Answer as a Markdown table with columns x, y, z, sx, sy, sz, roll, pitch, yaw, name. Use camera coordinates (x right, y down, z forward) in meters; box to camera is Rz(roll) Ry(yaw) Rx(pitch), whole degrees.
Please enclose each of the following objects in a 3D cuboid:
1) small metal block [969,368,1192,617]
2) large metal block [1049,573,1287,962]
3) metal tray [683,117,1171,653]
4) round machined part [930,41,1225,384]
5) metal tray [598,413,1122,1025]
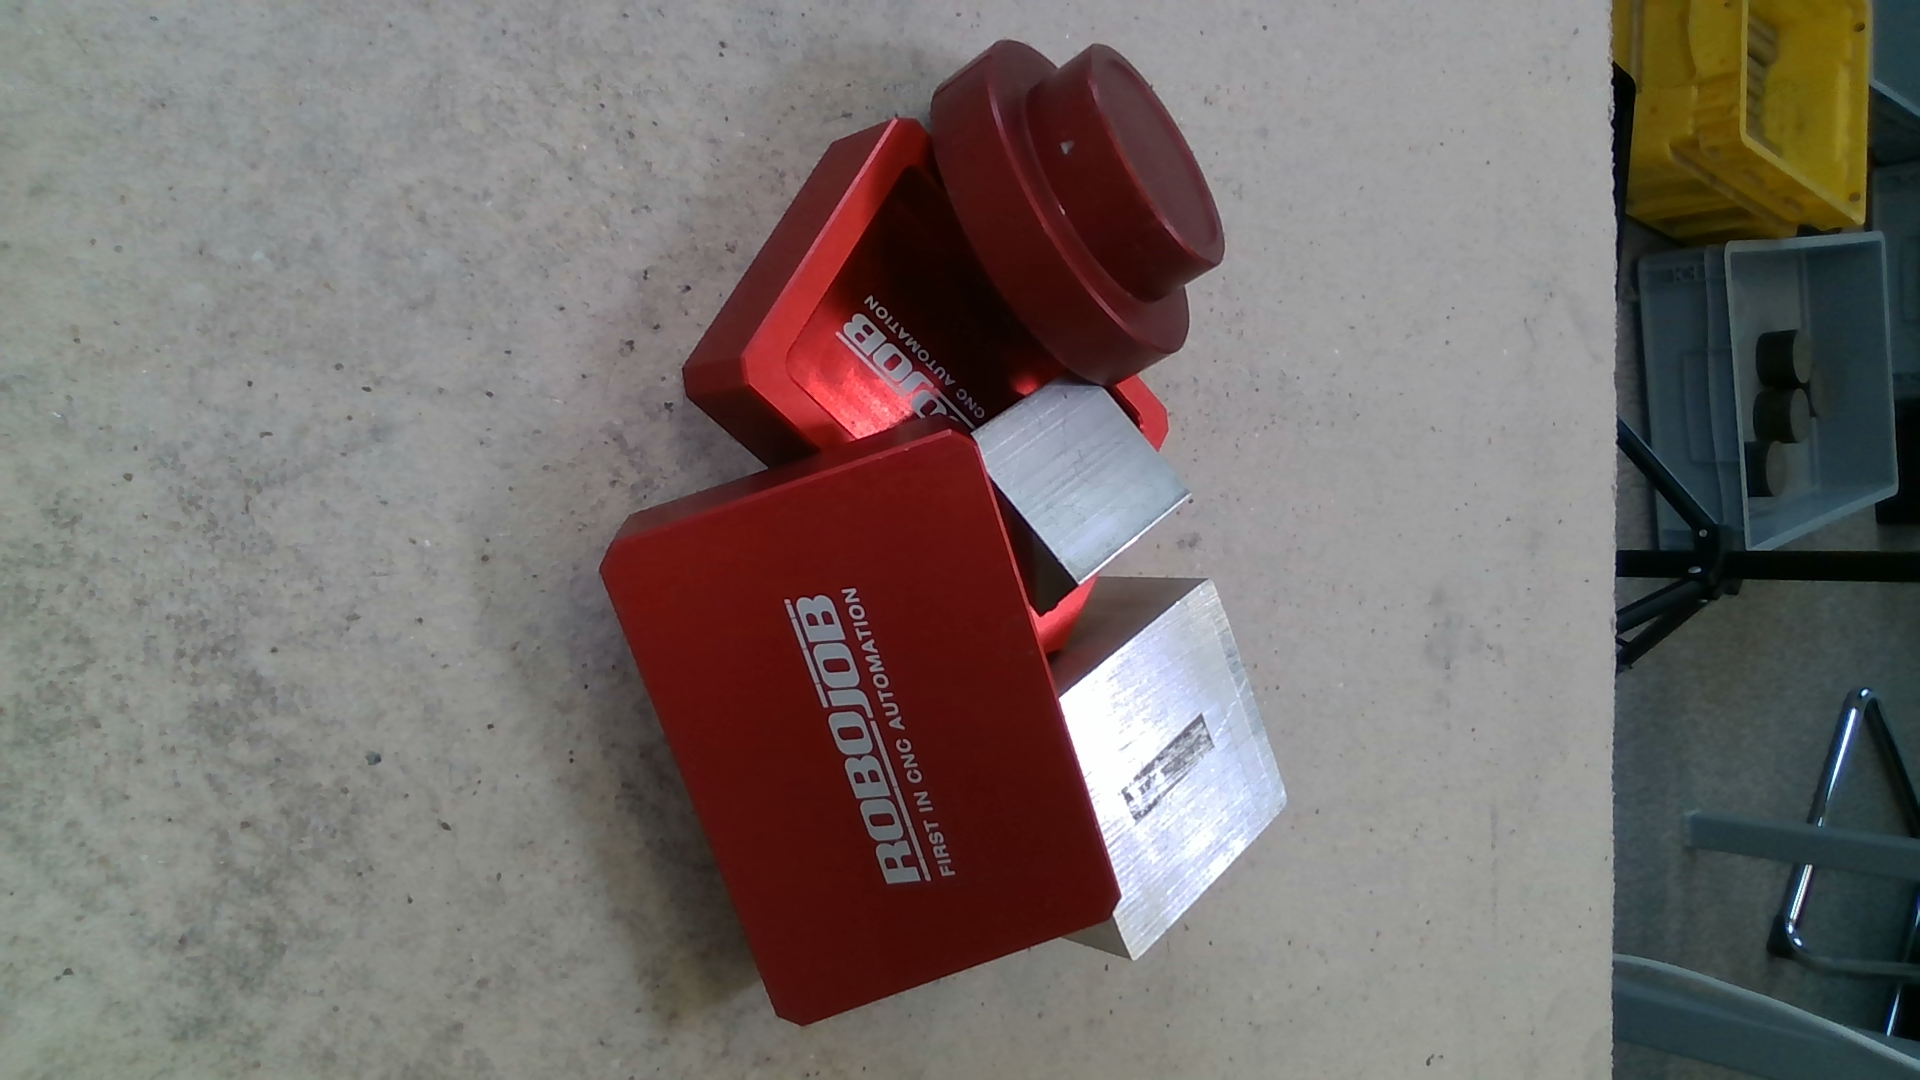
| x | y | z | sx | sy | sz | roll | pitch | yaw | name |
| --- | --- | --- | --- | --- | --- | --- | --- | --- | --- |
| 0.028 | -0.015 | 0.385 | 0.050 | 0.025 | 0.050 | -37 | 85 | -32 | small metal block |
| 0.045 | 0.064 | 0.414 | 0.080 | 0.050 | 0.080 | -34 | 111 | -35 | large metal block |
| -0.002 | -0.039 | 0.385 | 0.130 | 0.030 | 0.090 | 42 | 64 | -32 | metal tray |
| 0.038 | -0.097 | 0.385 | 0.098 | 0.042 | 0.098 | 40 | 36 | -36 | round machined part |
| -0.022 | 0.044 | 0.339 | 0.090 | 0.030 | 0.130 | -19 | 104 | -2 | metal tray |
